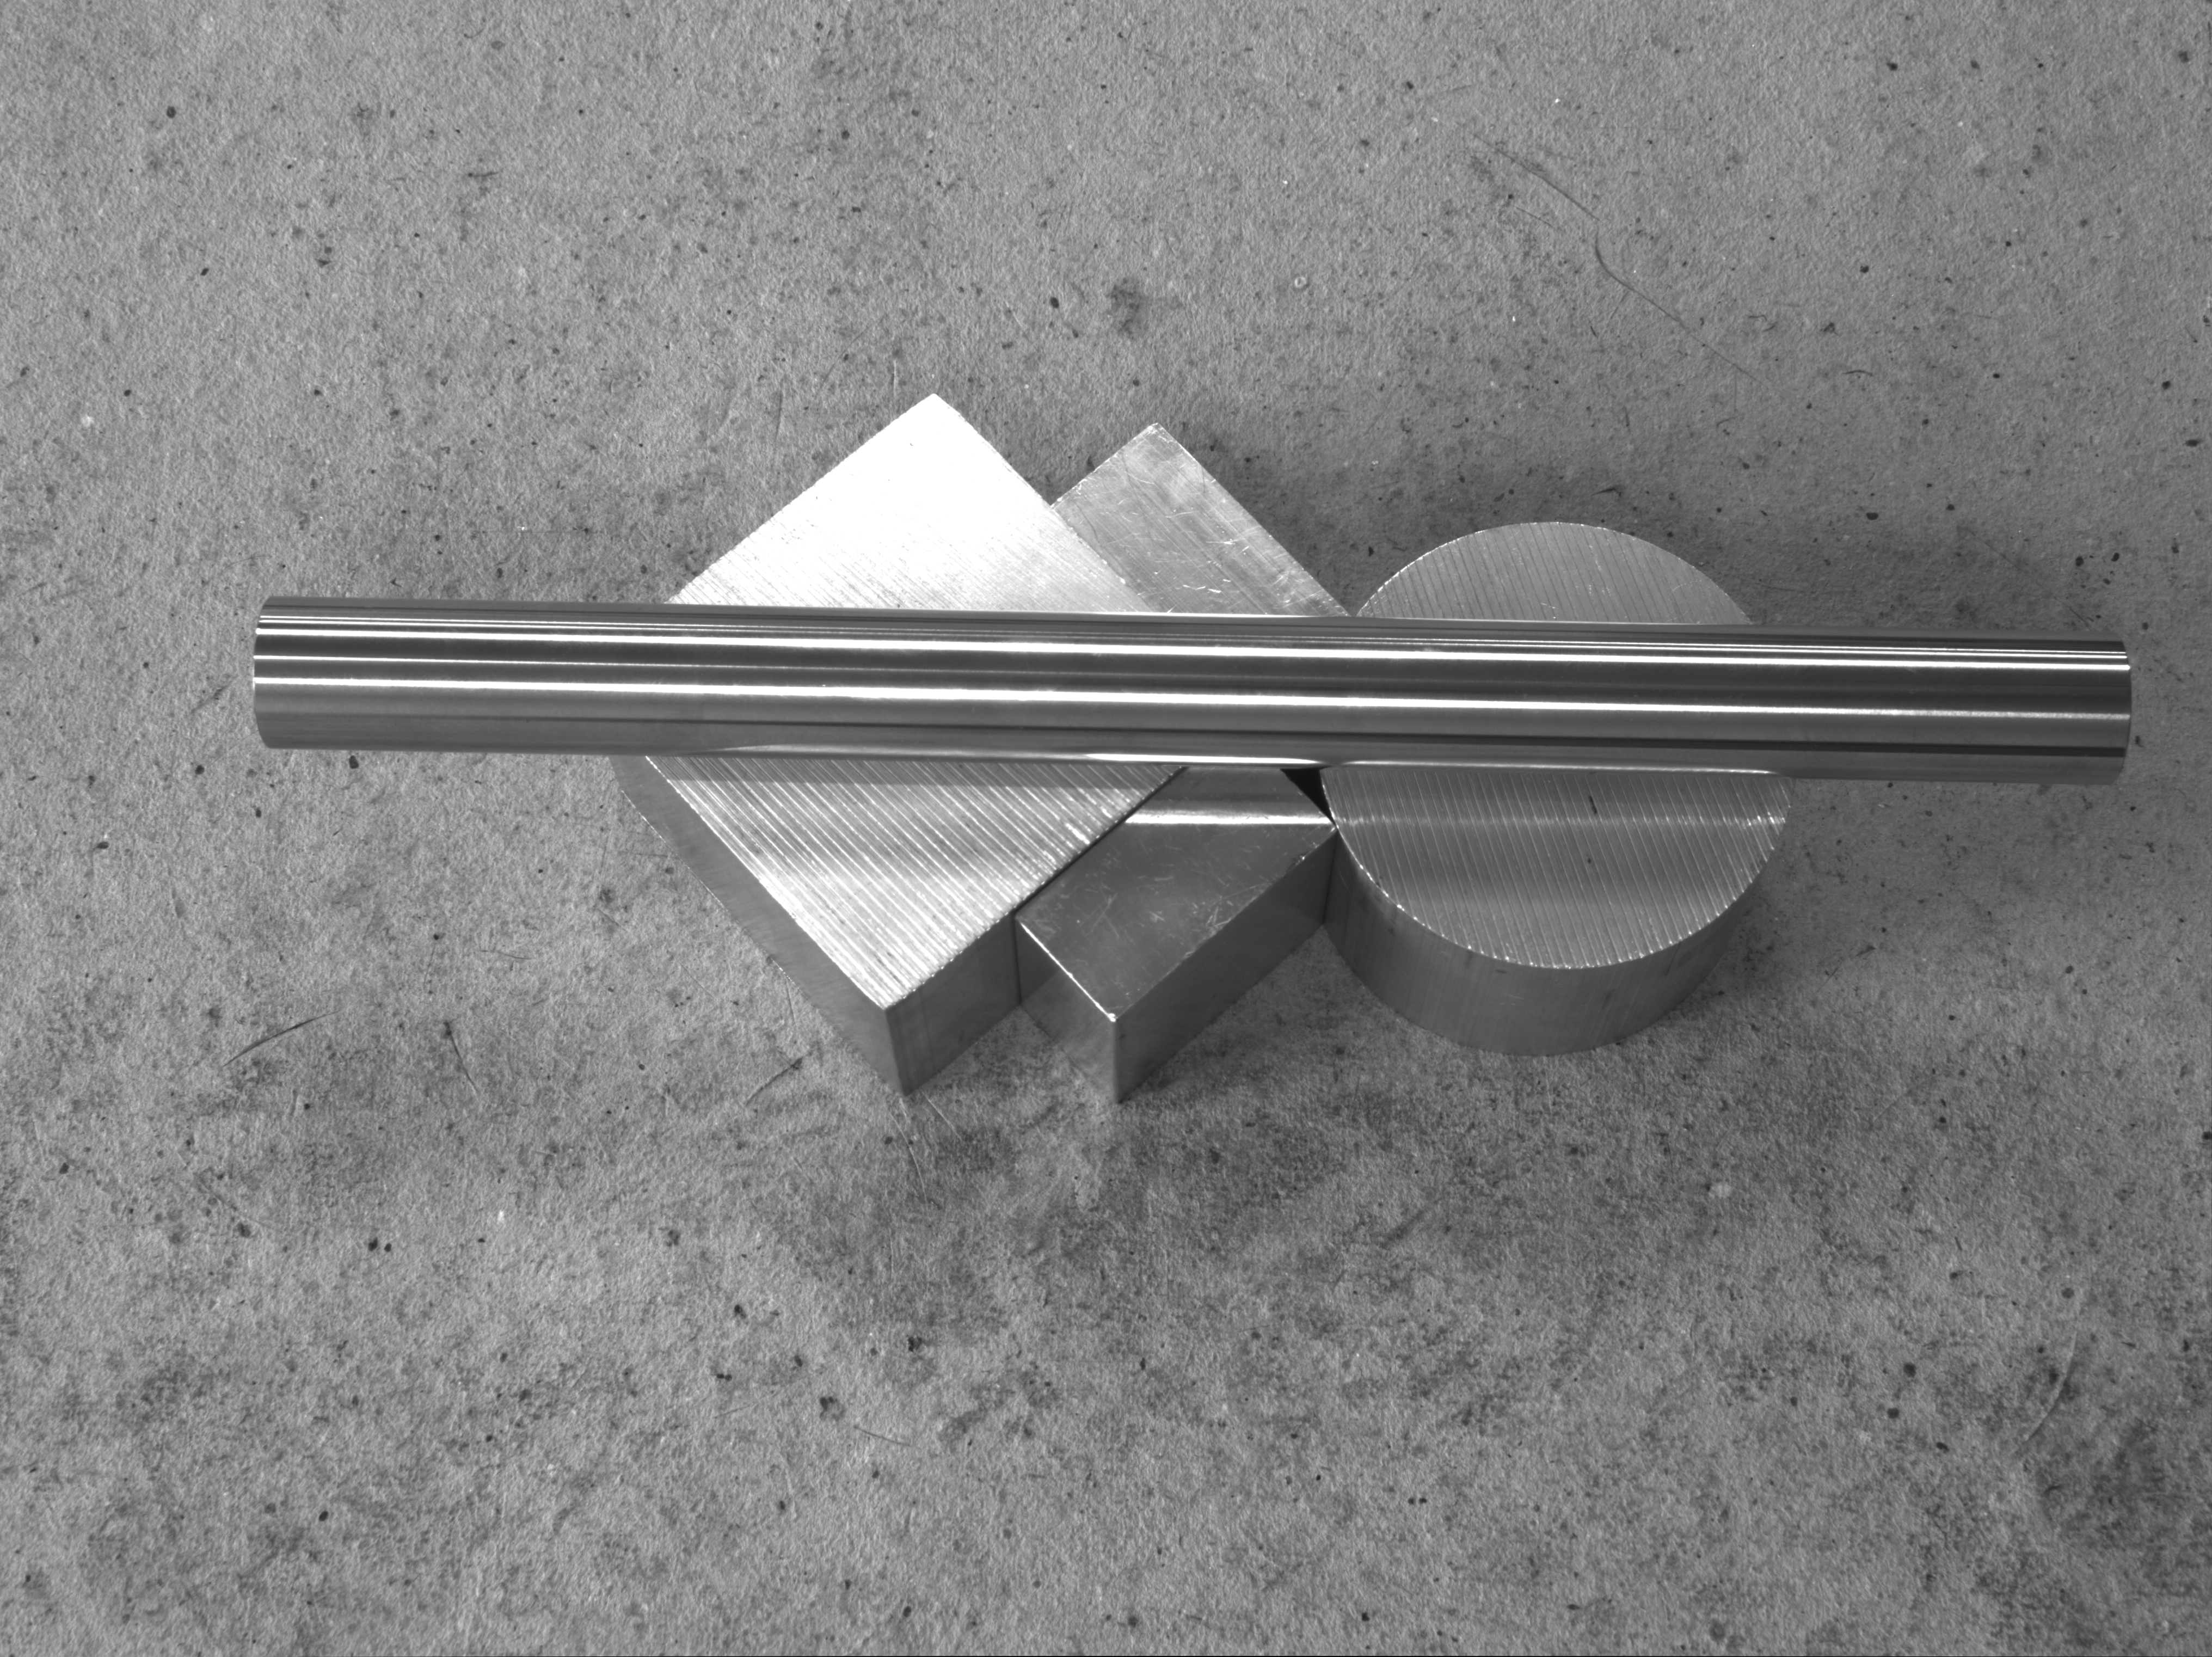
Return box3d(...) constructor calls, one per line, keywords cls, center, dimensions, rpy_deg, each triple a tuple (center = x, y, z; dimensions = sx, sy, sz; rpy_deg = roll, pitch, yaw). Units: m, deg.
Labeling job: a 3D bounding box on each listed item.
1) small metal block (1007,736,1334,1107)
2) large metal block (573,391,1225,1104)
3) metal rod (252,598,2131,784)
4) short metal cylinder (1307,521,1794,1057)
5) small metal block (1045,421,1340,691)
box3d(cls="small metal block", center=(0.011, 0.016, 0.628), dimensions=(0.050, 0.050, 0.025), rpy_deg=(-40, 75, -13))
box3d(cls="large metal block", center=(-0.033, -0.014, 0.636), dimensions=(0.080, 0.050, 0.080), rpy_deg=(-40, 75, -13))
box3d(cls="metal rod", center=(0.014, -0.022, 0.599), dimensions=(0.300, 0.025, 0.025), rpy_deg=(1, 70, 0))
box3d(cls="short metal cylinder", center=(0.074, -0.006, 0.634), dimensions=(0.080, 0.050, 0.080), rpy_deg=(0, 70, 0))
box3d(cls="small metal block", center=(0.016, -0.036, 0.646), dimensions=(0.025, 0.050, 0.050), rpy_deg=(-40, 75, -13))
